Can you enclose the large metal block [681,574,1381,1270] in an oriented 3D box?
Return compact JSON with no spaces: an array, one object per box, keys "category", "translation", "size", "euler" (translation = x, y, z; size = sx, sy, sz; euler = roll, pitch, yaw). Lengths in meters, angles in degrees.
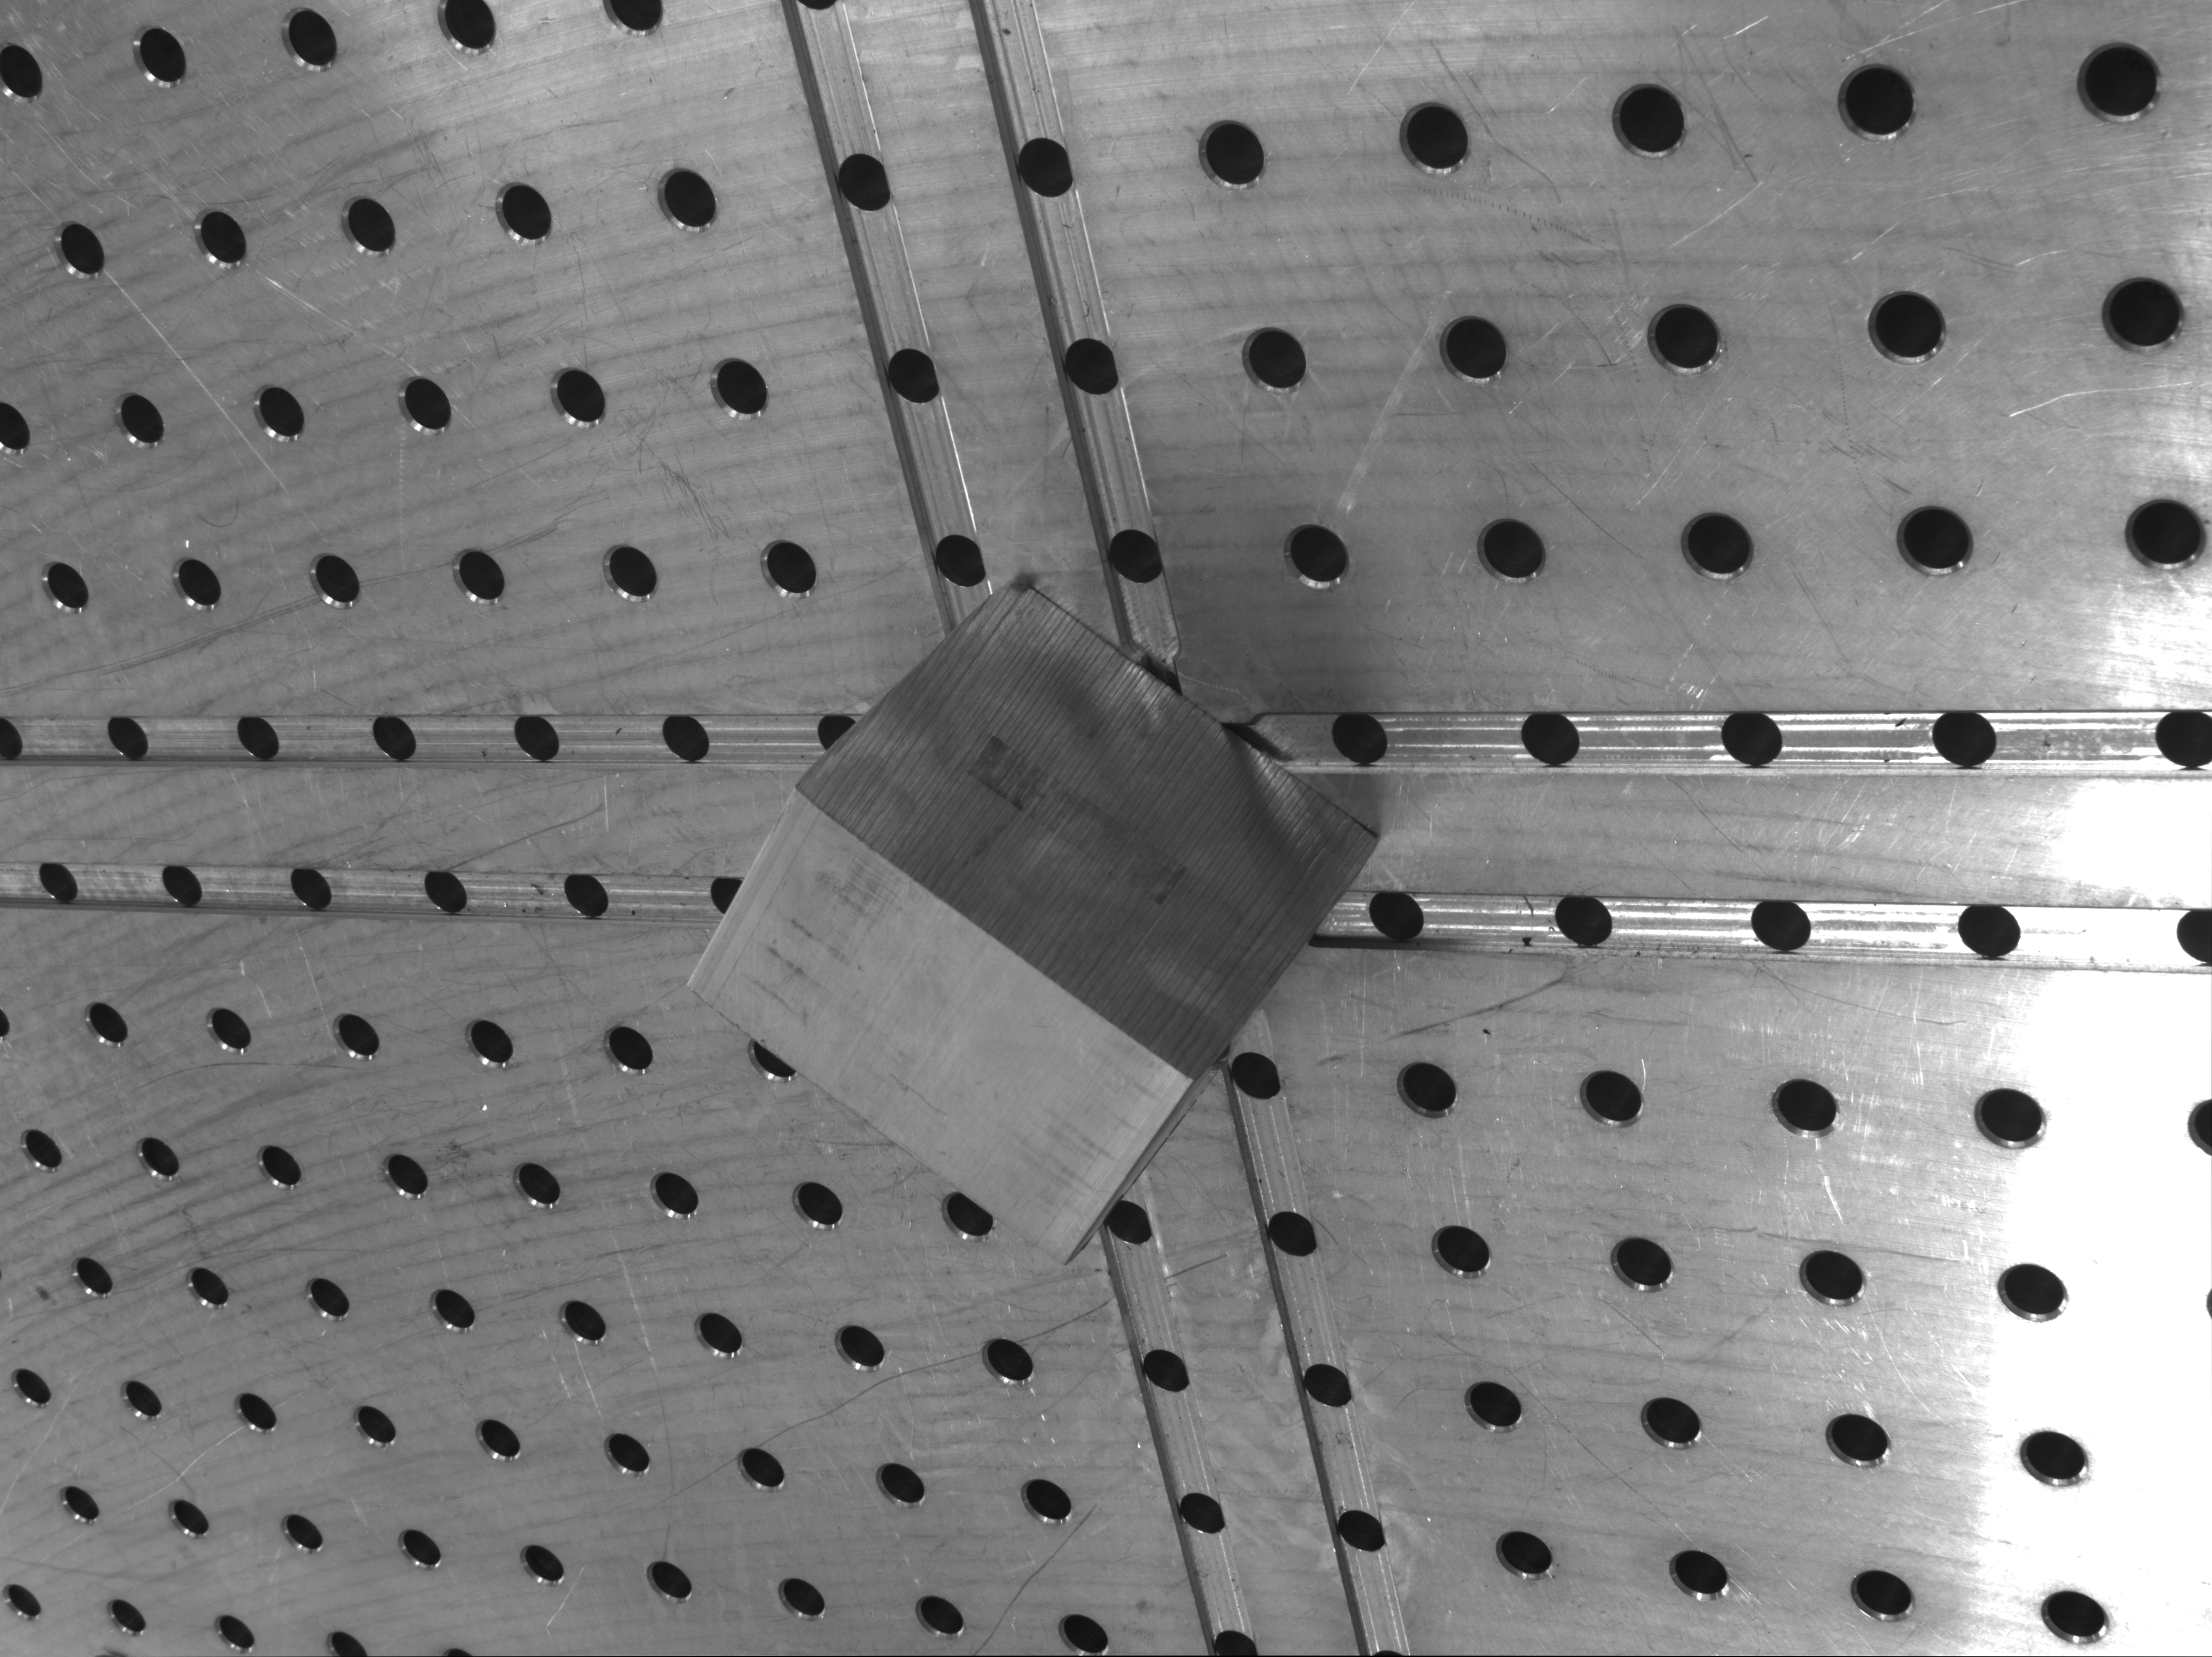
[{"category":"large metal block","translation":[-0.012,0.014,0.625],"size":[0.080,0.080,0.050],"euler":[36,129,4]}]
